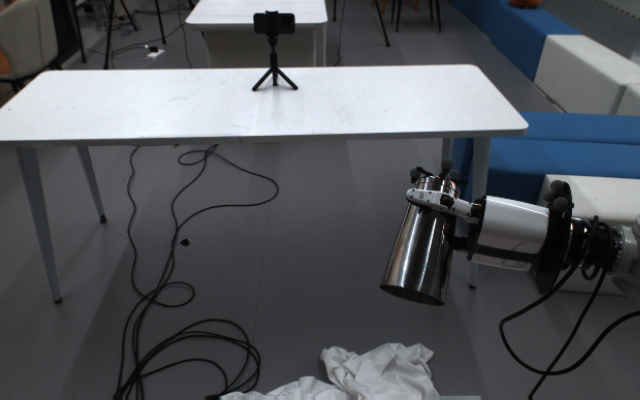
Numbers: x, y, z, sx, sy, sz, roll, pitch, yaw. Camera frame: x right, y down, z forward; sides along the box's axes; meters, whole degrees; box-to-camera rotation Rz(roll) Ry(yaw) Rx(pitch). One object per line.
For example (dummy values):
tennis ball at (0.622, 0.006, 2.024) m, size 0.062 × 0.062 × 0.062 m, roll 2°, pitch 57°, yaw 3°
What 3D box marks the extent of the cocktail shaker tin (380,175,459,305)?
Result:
cocktail shaker tin at (0.152, 0.053, 0.698) m, size 0.093 × 0.093 × 0.170 m, roll 13°, pitch 71°, yaw 15°
